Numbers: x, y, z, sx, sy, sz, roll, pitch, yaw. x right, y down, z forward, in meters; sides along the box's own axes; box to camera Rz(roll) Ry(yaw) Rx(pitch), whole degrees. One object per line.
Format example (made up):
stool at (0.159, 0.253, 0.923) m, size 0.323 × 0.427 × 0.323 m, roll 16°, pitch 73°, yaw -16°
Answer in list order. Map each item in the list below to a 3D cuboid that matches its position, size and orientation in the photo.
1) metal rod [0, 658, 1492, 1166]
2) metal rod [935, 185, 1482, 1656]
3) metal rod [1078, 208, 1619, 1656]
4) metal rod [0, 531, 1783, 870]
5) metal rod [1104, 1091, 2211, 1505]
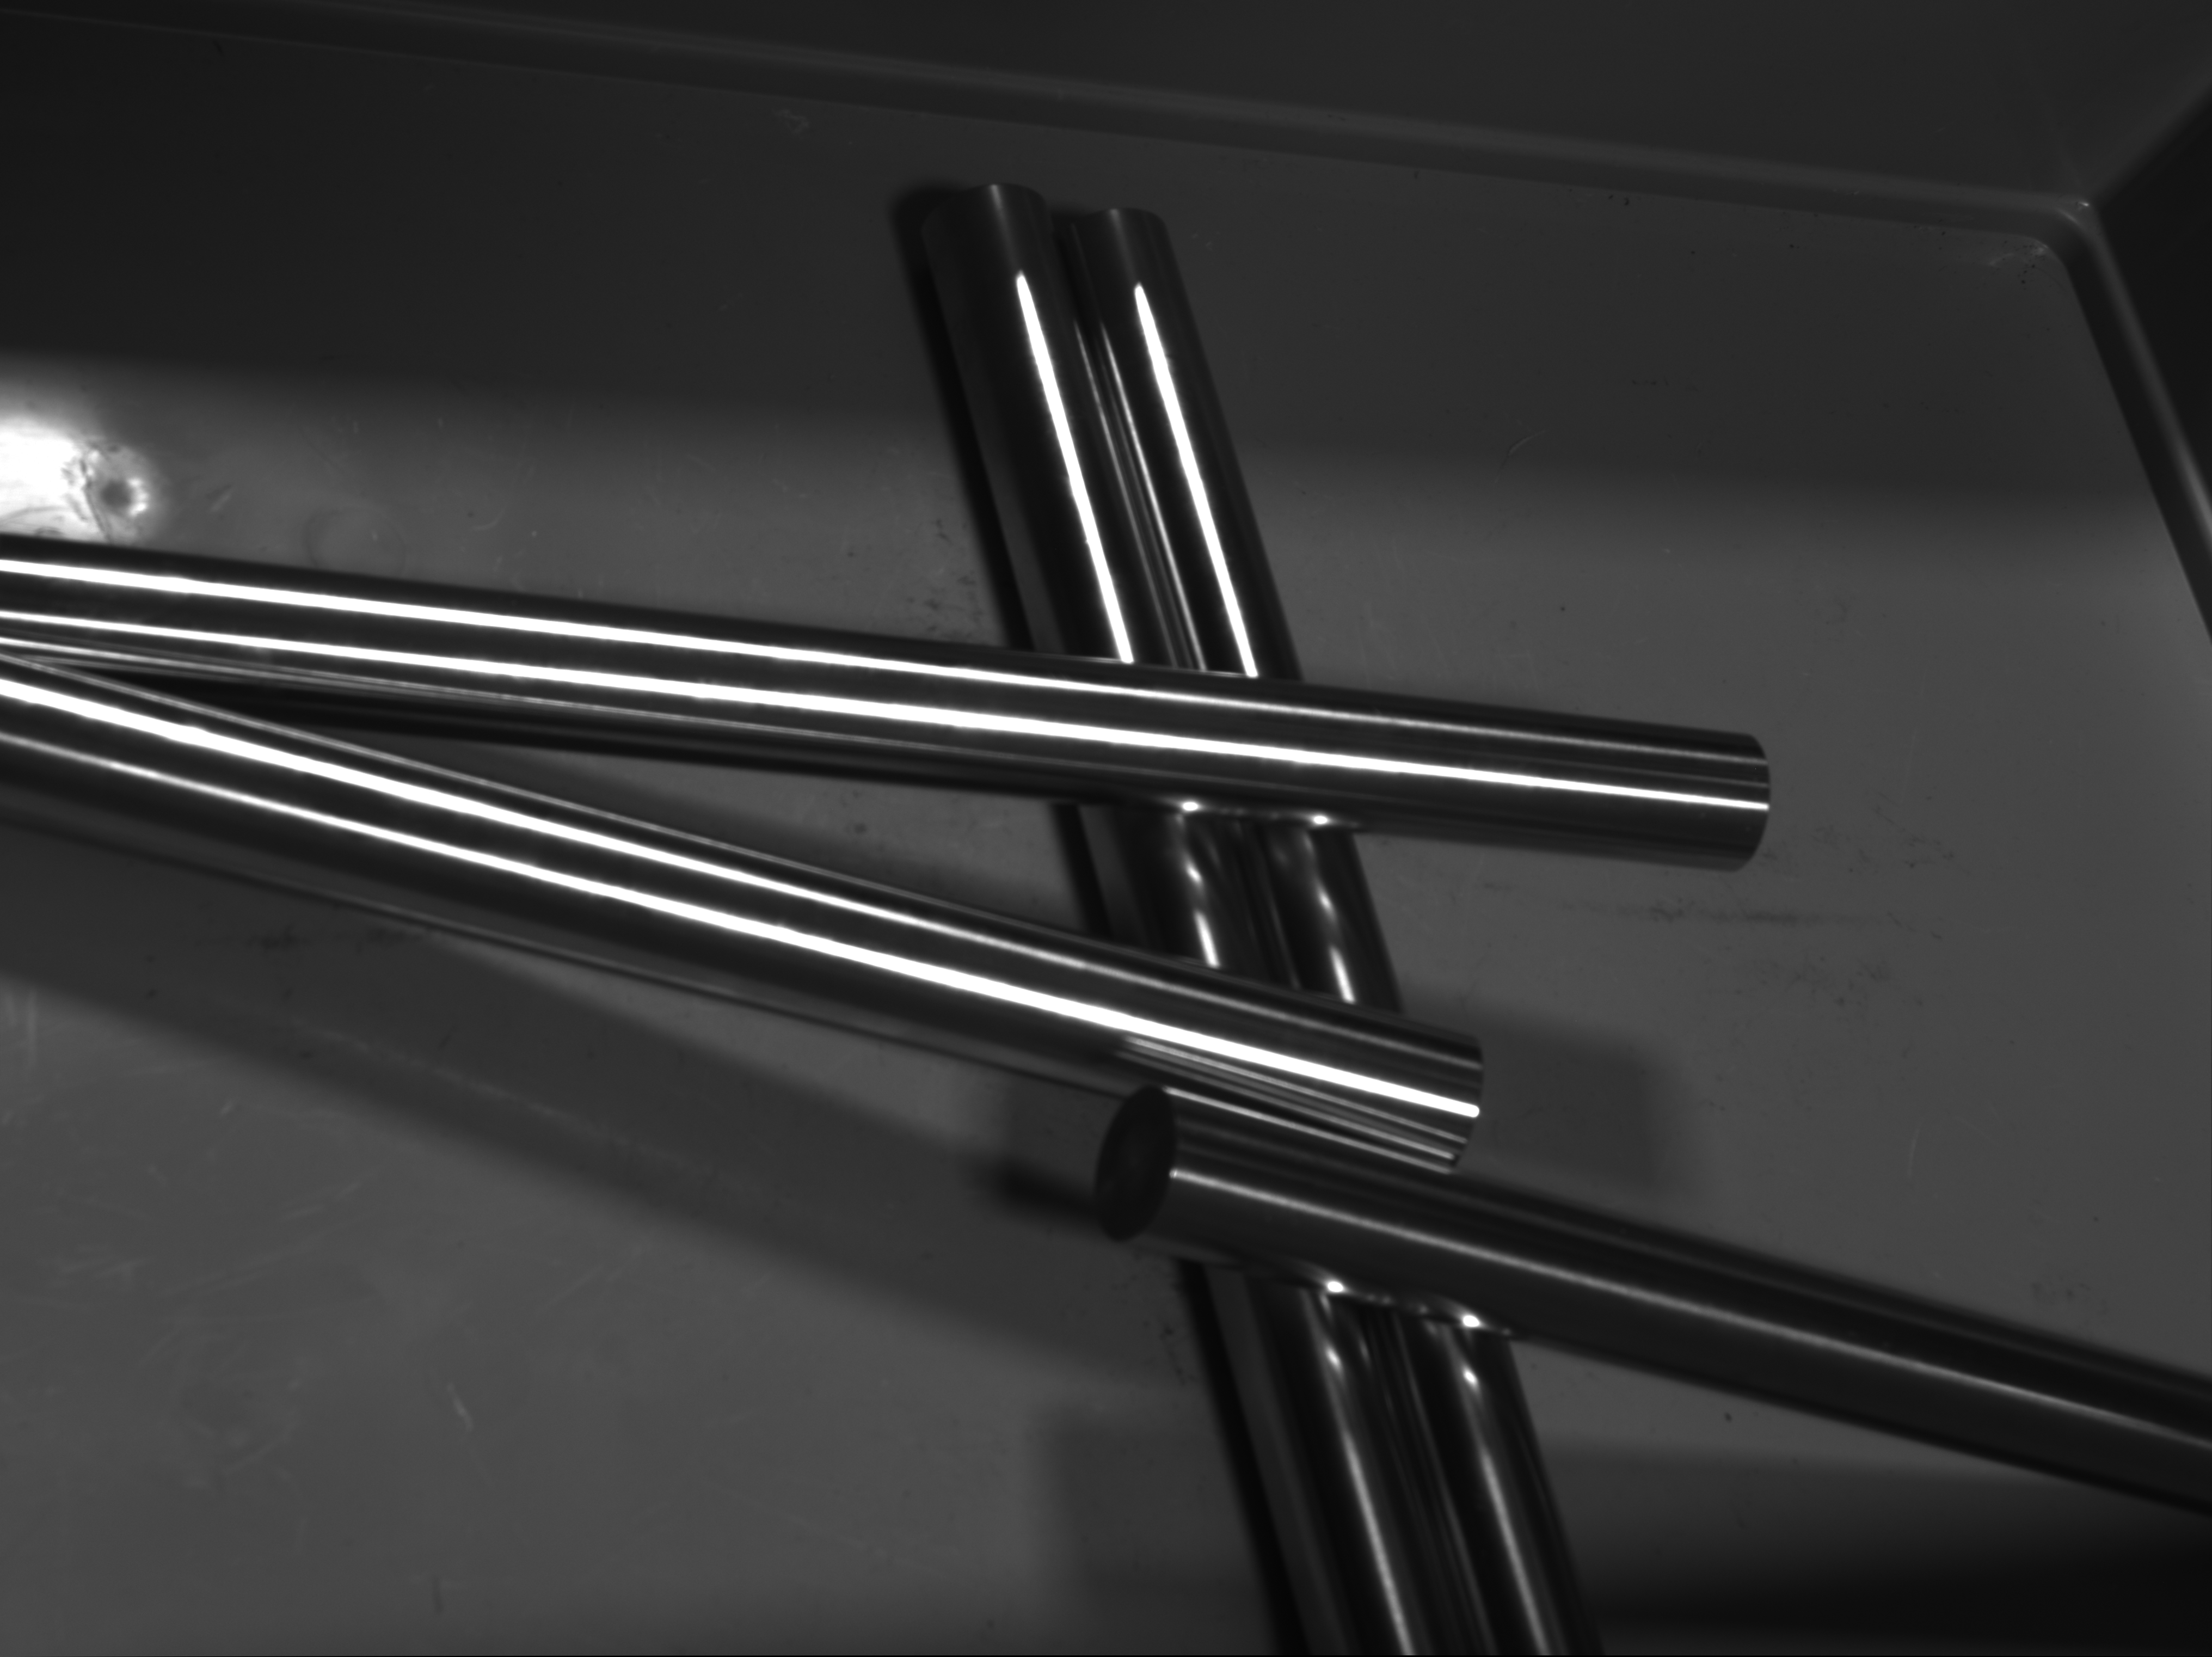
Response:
metal rod at (-0.082, 0.009, 0.572) m, size 0.300 × 0.025 × 0.025 m, roll 15°, pitch 55°, yaw -13°
metal rod at (0.016, 0.017, 0.634) m, size 0.025 × 0.025 × 0.300 m, roll -1°, pitch 62°, yaw -29°
metal rod at (0.039, 0.020, 0.645) m, size 0.025 × 0.025 × 0.300 m, roll -1°, pitch 62°, yaw -29°
metal rod at (-0.028, -0.019, 0.610) m, size 0.300 × 0.025 × 0.025 m, roll 6°, pitch 59°, yaw -17°
metal rod at (0.136, 0.091, 0.634) m, size 0.301 × 0.025 × 0.025 m, roll 16°, pitch 55°, yaw -26°
